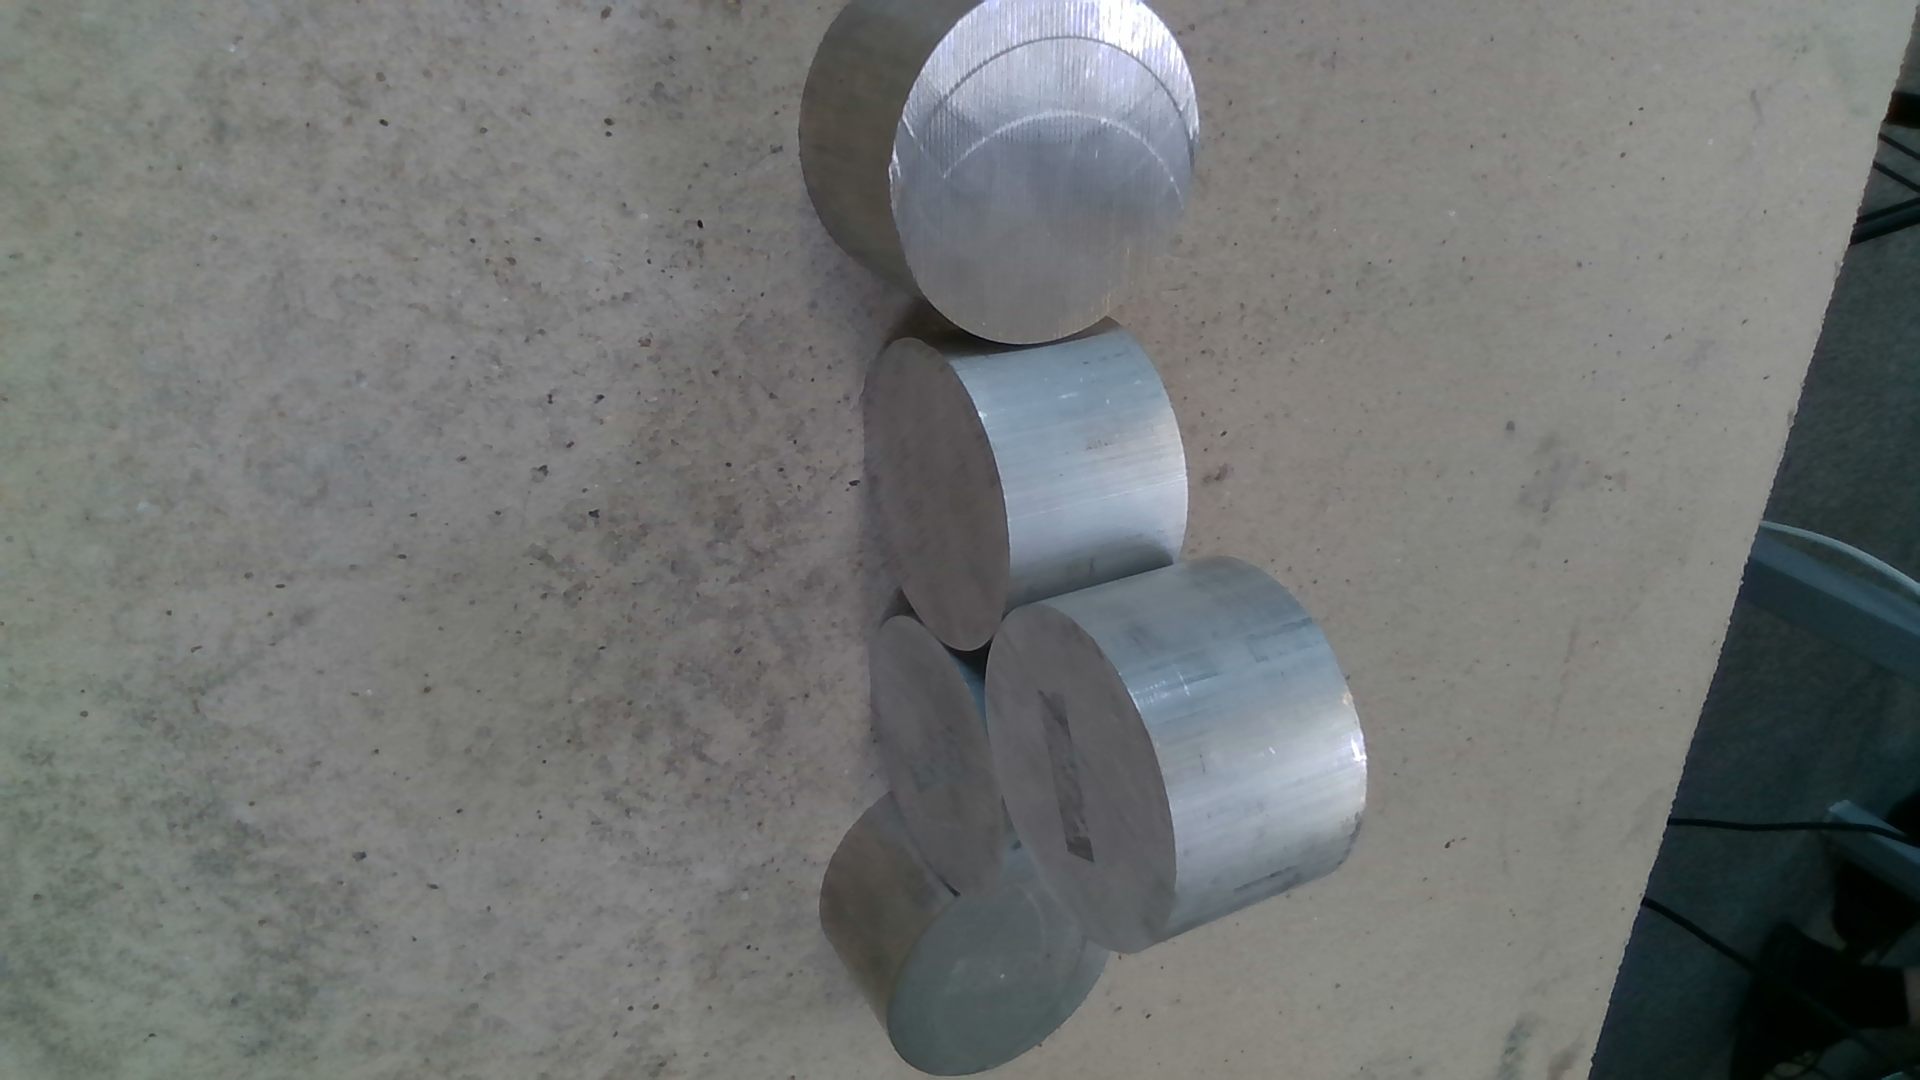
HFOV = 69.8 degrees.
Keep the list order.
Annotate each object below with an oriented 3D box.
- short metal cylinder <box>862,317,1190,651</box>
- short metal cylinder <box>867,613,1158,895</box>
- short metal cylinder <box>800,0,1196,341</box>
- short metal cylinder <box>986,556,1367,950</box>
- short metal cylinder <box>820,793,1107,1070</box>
[{"bbox_3d":[0.014,-0.016,0.355,0.050,0.080,0.080,-14,121,-25],"label":"short metal cylinder"},{"bbox_3d":[0.013,0.054,0.393,0.050,0.080,0.080,-15,122,-26],"label":"short metal cylinder"},{"bbox_3d":[0.009,-0.094,0.329,0.080,0.050,0.080,-15,122,-25],"label":"short metal cylinder"},{"bbox_3d":[0.047,0.048,0.320,0.050,0.080,0.080,-13,121,-24],"label":"short metal cylinder"},{"bbox_3d":[0.002,0.120,0.440,0.080,0.050,0.080,-14,122,-24],"label":"short metal cylinder"}]
